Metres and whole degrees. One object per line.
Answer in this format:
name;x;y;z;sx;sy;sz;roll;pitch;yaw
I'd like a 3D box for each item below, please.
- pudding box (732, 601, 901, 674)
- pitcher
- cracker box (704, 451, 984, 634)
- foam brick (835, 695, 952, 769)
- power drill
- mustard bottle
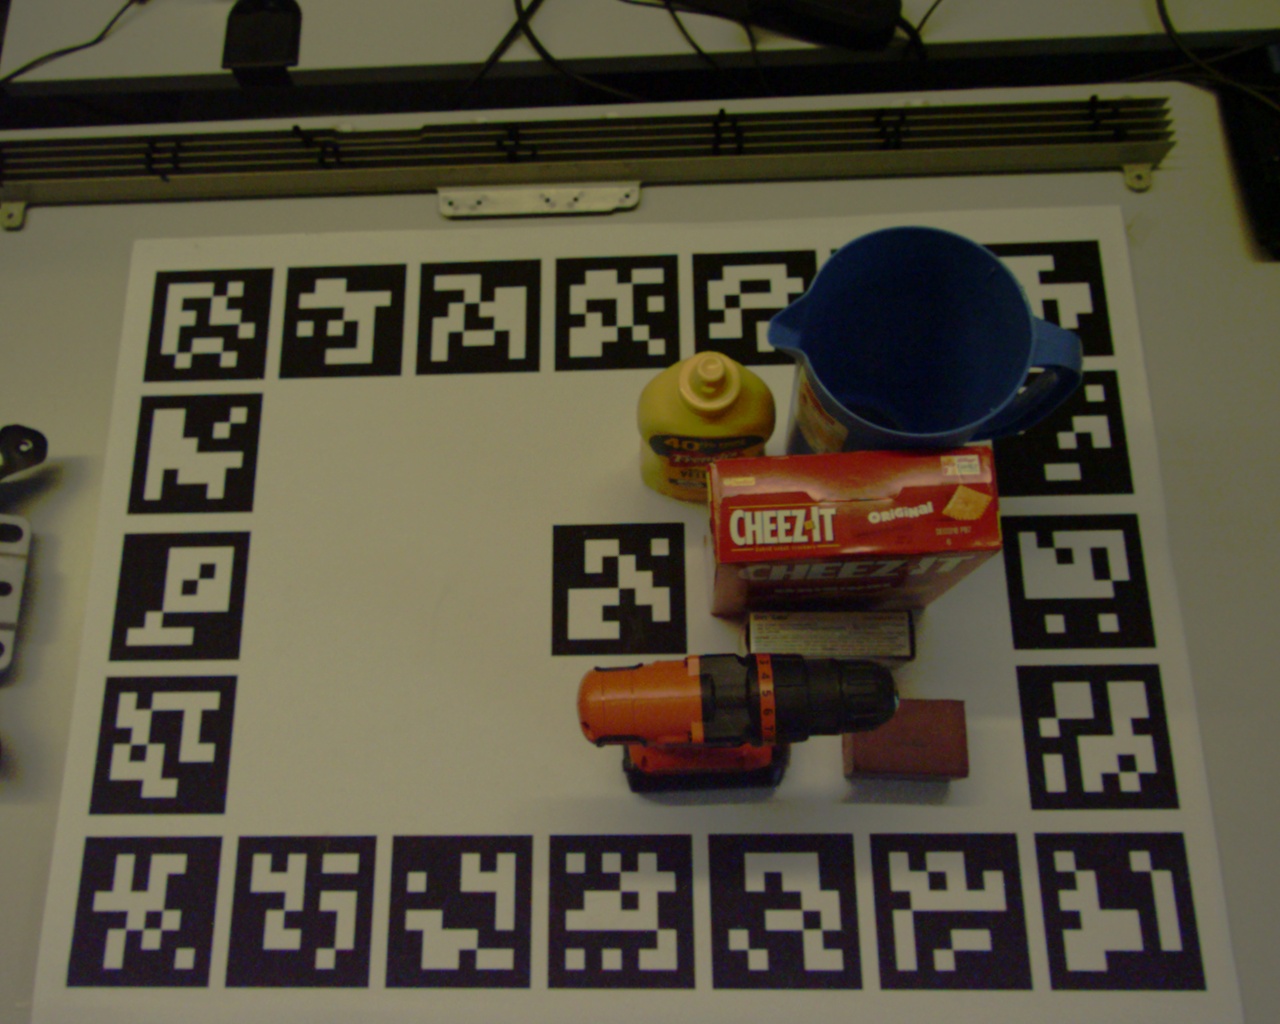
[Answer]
pudding box;0.123;0.090;0.816;0.114;0.089;0.039;0;74;6
pitcher;0.175;-0.072;0.796;0.189;0.241;0.133;5;75;6
cracker box;0.129;0.029;0.777;0.164;0.212;0.072;-3;73;4
foam brick;0.182;0.160;0.827;0.078;0.051;0.053;1;77;4
power drill;0.059;0.133;0.737;0.185;0.186;0.057;-2;72;2
mustard bottle;0.042;-0.066;0.815;0.096;0.191;0.058;12;77;6
